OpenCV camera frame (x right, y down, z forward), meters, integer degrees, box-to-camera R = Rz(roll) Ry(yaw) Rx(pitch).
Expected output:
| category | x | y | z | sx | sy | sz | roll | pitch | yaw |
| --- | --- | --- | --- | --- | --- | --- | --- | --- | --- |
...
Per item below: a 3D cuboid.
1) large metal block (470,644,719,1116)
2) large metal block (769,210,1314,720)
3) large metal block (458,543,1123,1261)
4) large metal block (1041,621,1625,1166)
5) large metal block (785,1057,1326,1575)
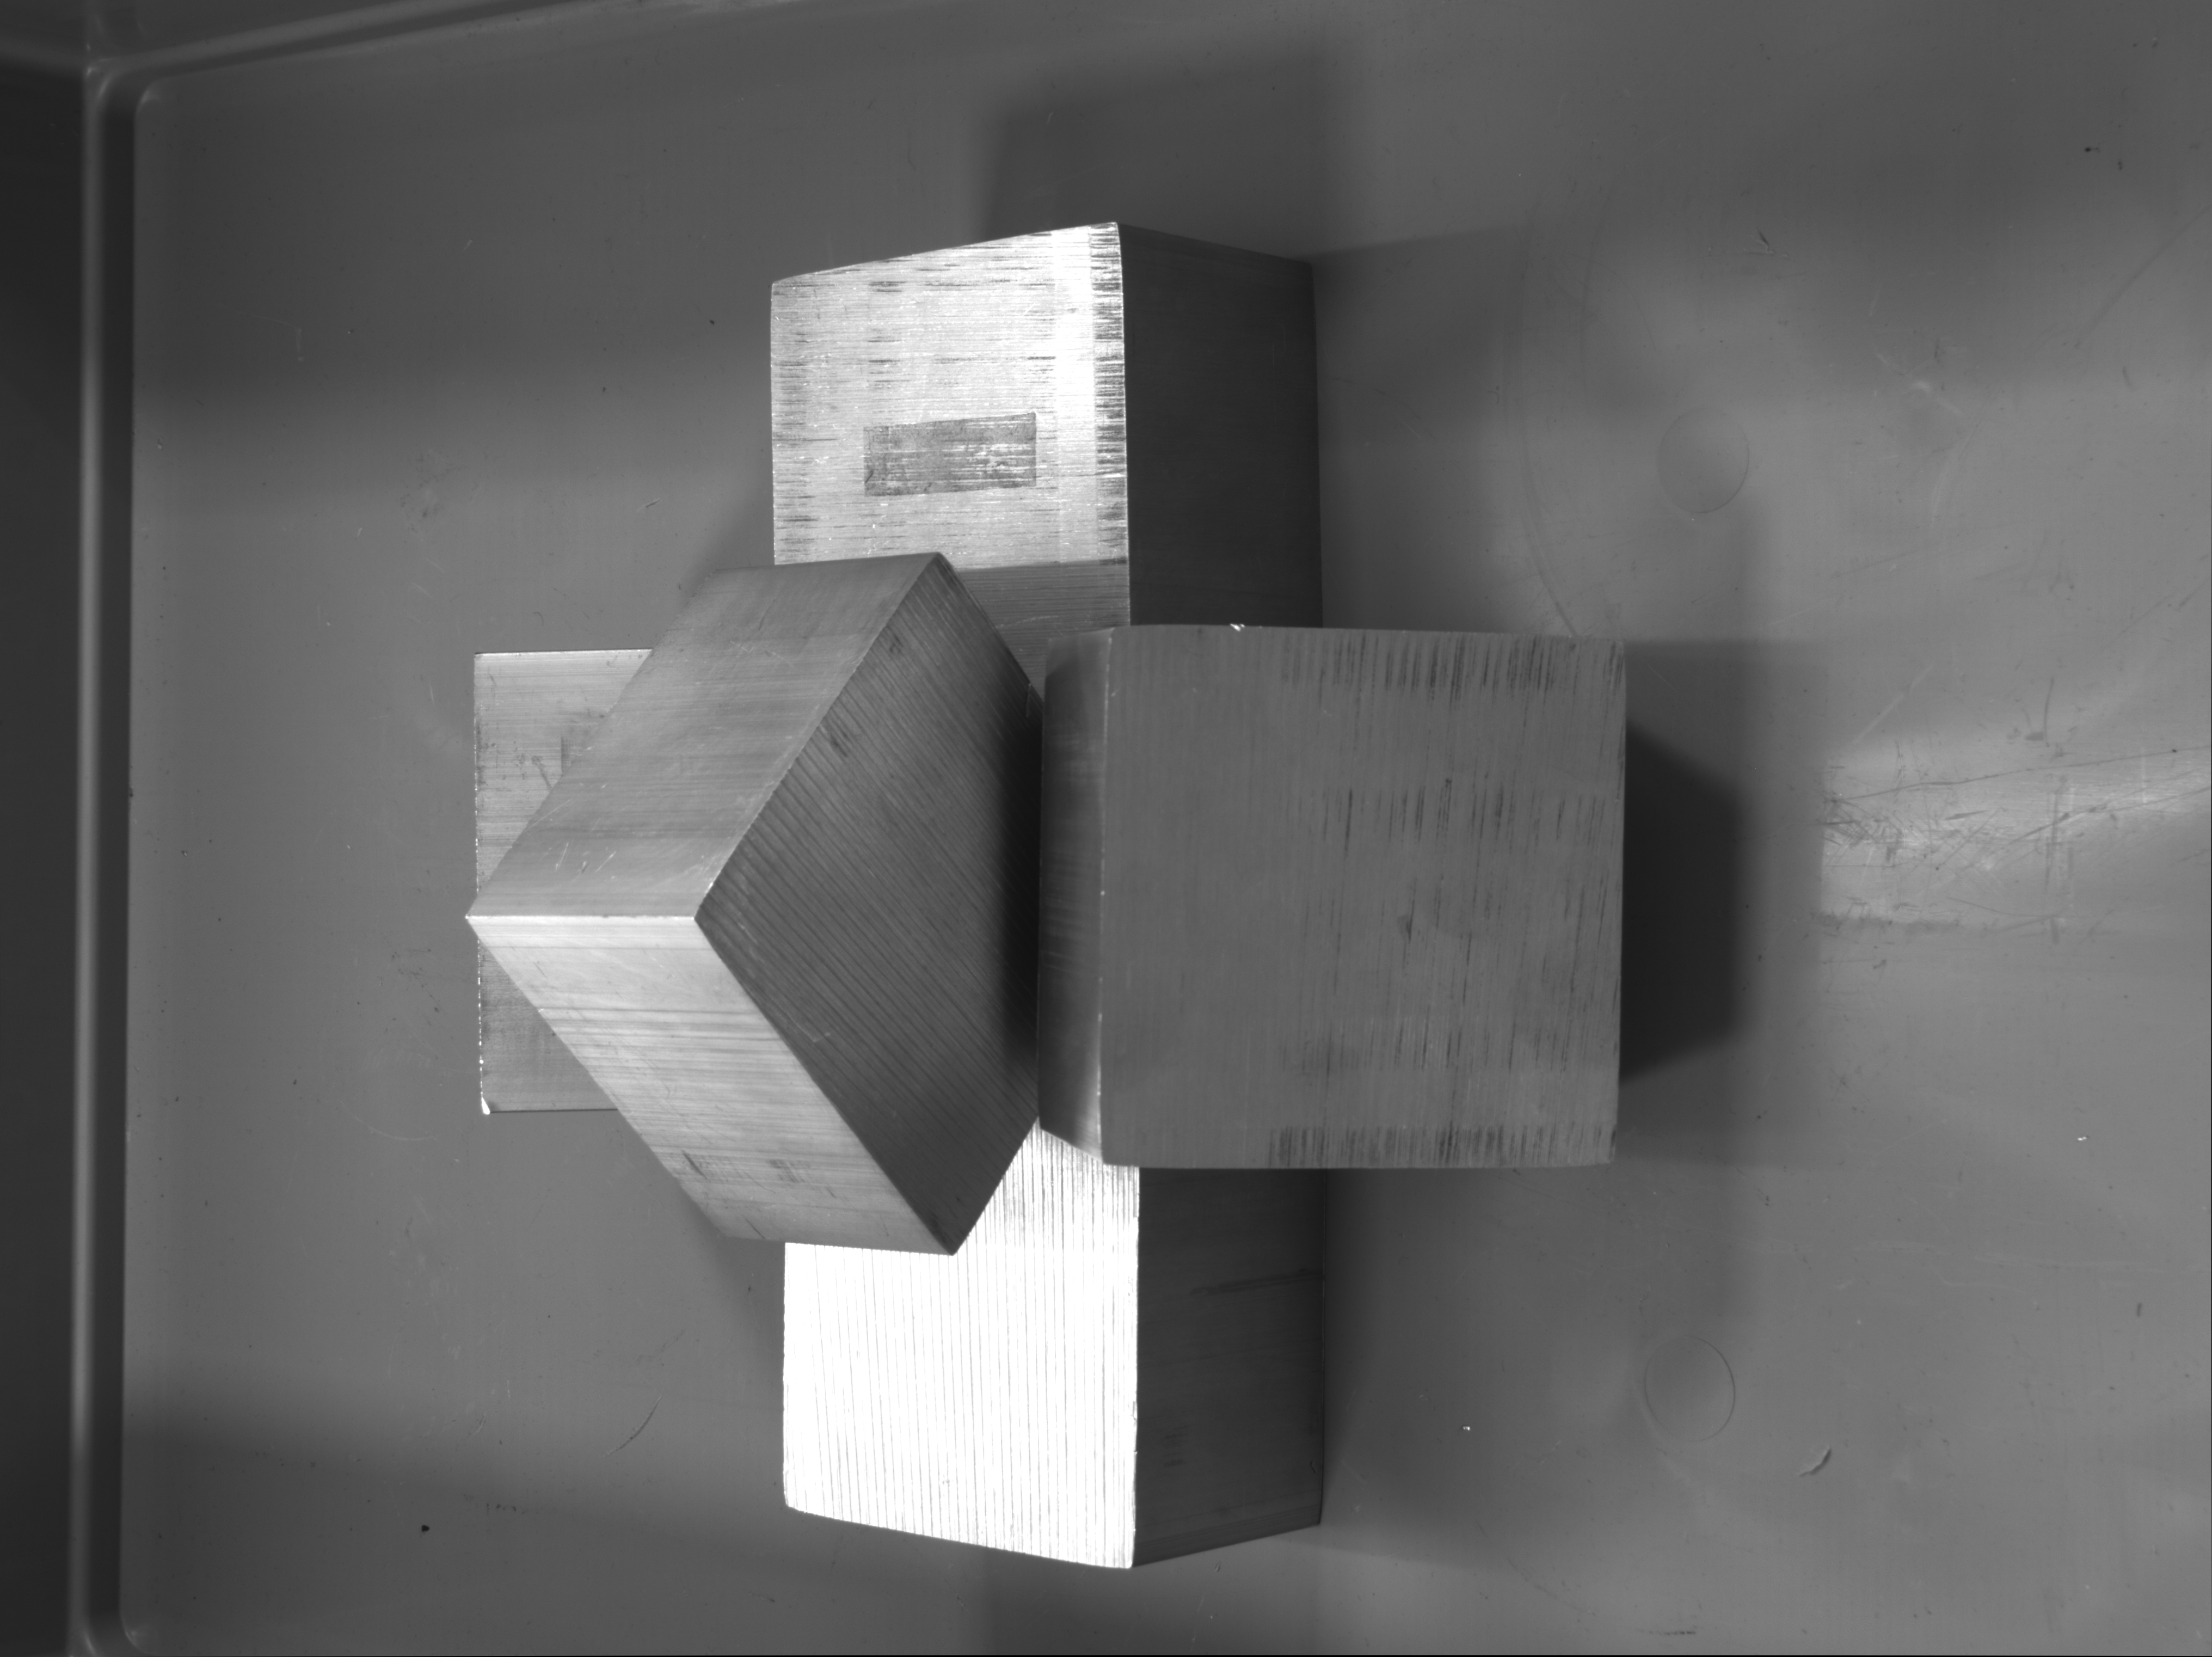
| category | x | y | z | sx | sy | sz | roll | pitch | yaw |
| --- | --- | --- | --- | --- | --- | --- | --- | --- | --- |
| large metal block | -0.080 | 0.009 | 0.665 | 0.050 | 0.080 | 0.080 | -1 | 89 | 4 |
| large metal block | -0.011 | -0.058 | 0.634 | 0.080 | 0.050 | 0.080 | -2 | 89 | 40 |
| large metal block | -0.045 | 0.012 | 0.593 | 0.050 | 0.080 | 0.080 | -1 | 46 | 39 |
| large metal block | 0.034 | 0.009 | 0.570 | 0.050 | 0.080 | 0.080 | -175 | 86 | -79 |
| large metal block | -0.009 | 0.080 | 0.635 | 0.080 | 0.050 | 0.080 | 1 | 90 | 40 |
